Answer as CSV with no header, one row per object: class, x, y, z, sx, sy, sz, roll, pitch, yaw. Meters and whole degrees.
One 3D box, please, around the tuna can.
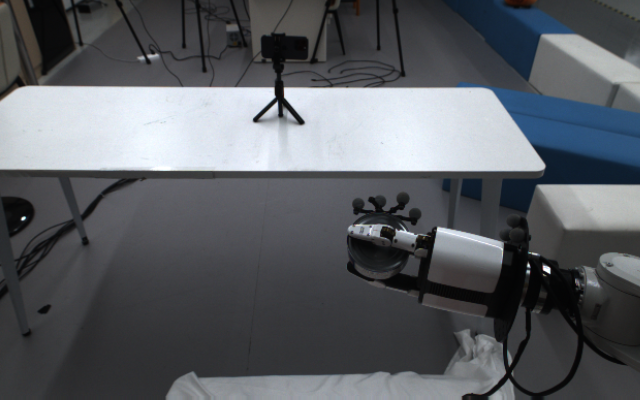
tuna can,0.079,0.058,0.645,0.085,0.034,0.085,-2,56,3
